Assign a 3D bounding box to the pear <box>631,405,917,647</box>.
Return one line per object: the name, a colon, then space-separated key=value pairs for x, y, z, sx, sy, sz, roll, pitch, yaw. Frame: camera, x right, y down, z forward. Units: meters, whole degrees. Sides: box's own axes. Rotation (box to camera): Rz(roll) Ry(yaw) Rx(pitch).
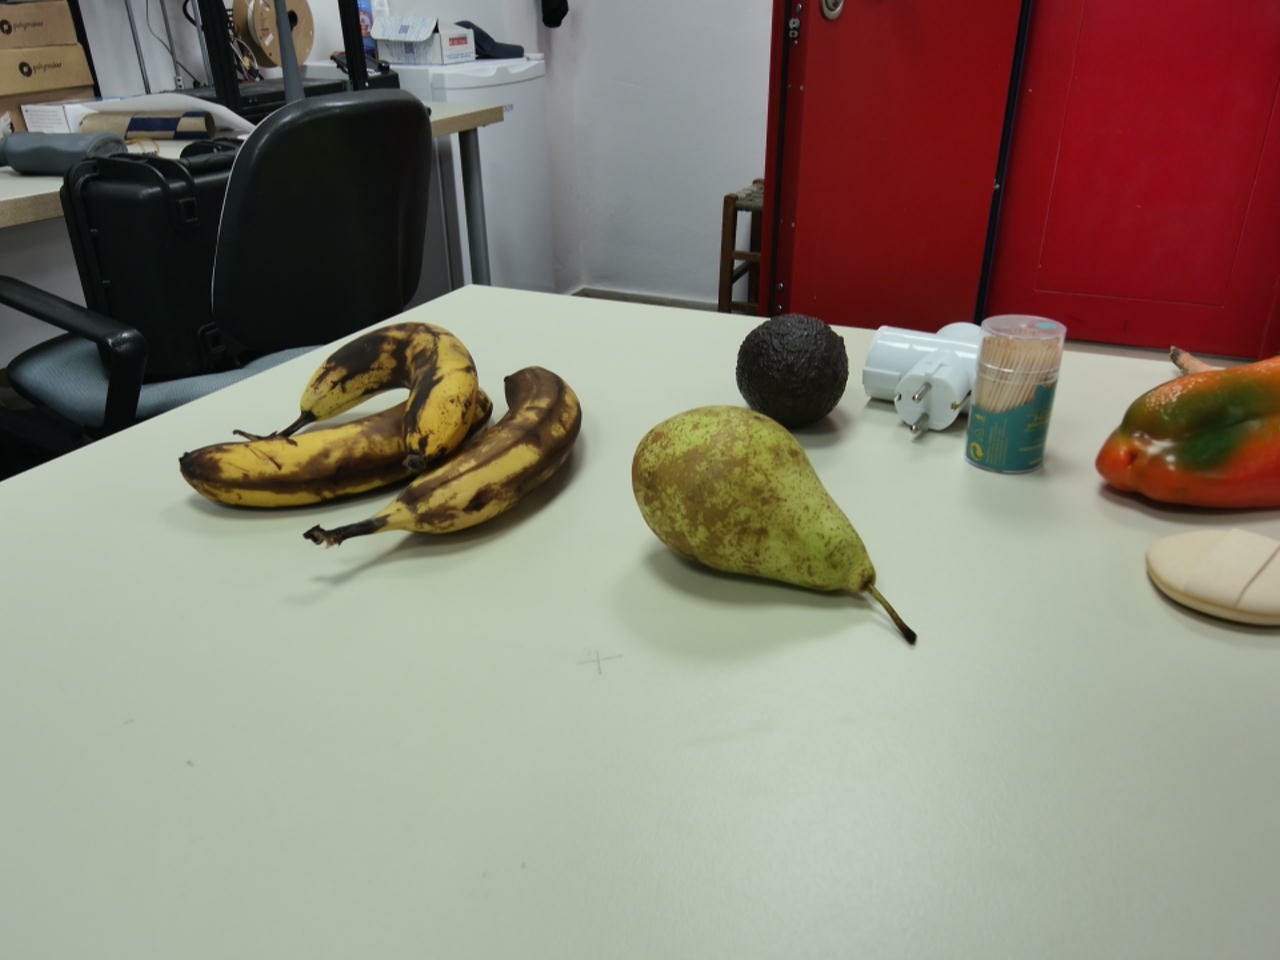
pear: x=0.058 y=0.009 z=0.429 sx=0.128 sy=0.075 sz=0.071 roll=8 pitch=24 yaw=16
